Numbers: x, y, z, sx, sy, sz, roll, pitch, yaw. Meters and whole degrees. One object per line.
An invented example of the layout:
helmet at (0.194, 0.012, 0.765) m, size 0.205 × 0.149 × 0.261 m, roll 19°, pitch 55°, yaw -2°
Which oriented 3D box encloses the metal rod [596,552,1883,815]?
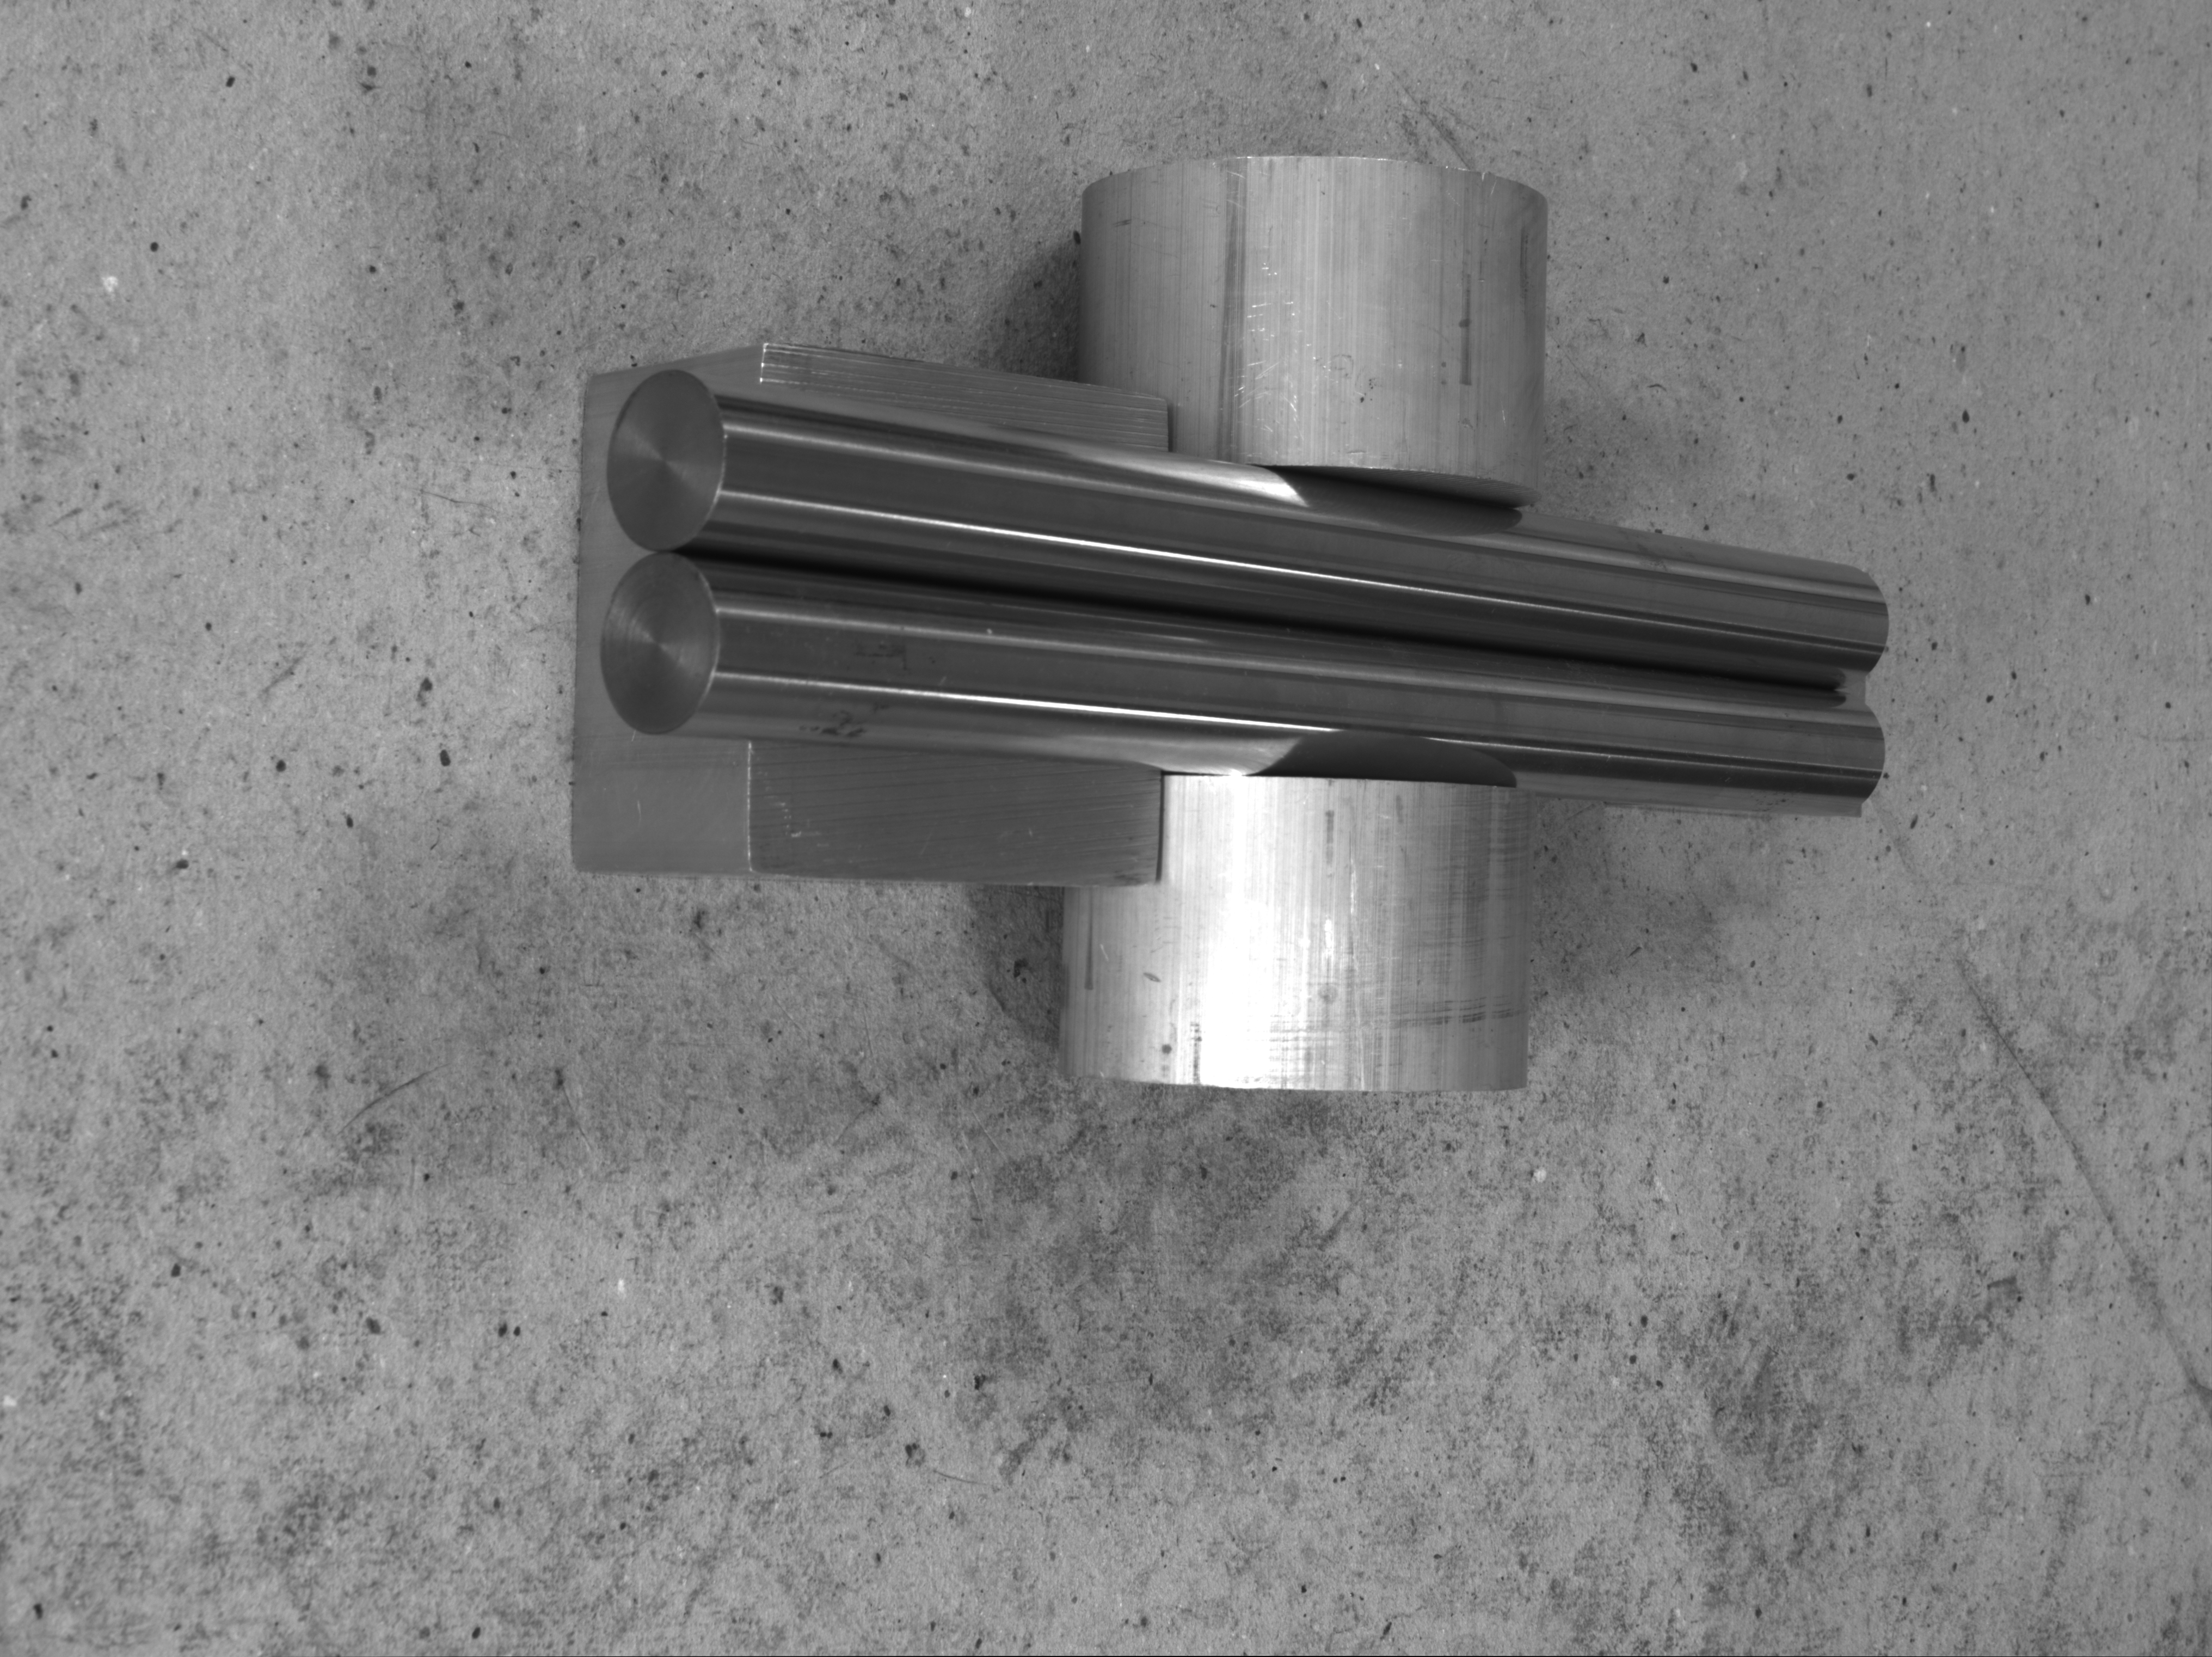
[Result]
metal rod at (0.040, -0.020, 0.612) m, size 0.301 × 0.025 × 0.025 m, roll 3°, pitch 88°, yaw -47°

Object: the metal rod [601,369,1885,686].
metal rod at (0.041, -0.045, 0.613) m, size 0.301 × 0.025 × 0.025 m, roll 3°, pitch 88°, yaw -47°

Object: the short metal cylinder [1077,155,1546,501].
short metal cylinder at (0.035, -0.083, 0.630) m, size 0.080 × 0.080 × 0.050 m, roll 2°, pitch 89°, yaw -40°

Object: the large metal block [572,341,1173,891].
large metal block at (-0.037, -0.031, 0.590) m, size 0.080 × 0.050 × 0.080 m, roll 3°, pitch 88°, yaw -40°

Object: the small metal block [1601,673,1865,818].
small metal block at (0.127, -0.028, 0.743) m, size 0.050 × 0.025 × 0.050 m, roll 4°, pitch 87°, yaw -39°

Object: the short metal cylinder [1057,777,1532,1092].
short metal cylinder at (0.032, 0.018, 0.628) m, size 0.080 × 0.080 × 0.050 m, roll 2°, pitch 89°, yaw -40°
